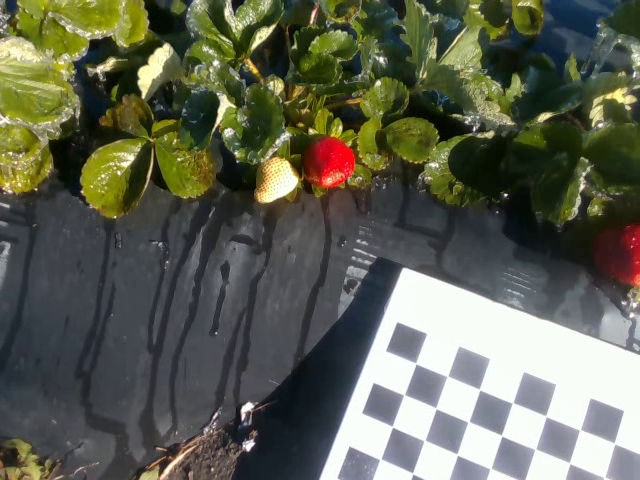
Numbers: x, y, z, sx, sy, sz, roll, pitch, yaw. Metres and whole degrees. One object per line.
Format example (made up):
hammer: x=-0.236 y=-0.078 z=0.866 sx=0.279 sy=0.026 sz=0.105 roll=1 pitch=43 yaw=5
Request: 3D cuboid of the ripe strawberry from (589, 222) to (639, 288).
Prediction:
ripe strawberry: x=0.220 y=0.013 z=0.441 sx=0.048 sy=0.044 sz=0.061 roll=14 pitch=43 yaw=9

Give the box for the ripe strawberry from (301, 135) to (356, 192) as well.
ripe strawberry: x=0.007 y=-0.053 z=0.487 sx=0.042 sy=0.046 sz=0.061 roll=7 pitch=32 yaw=8
